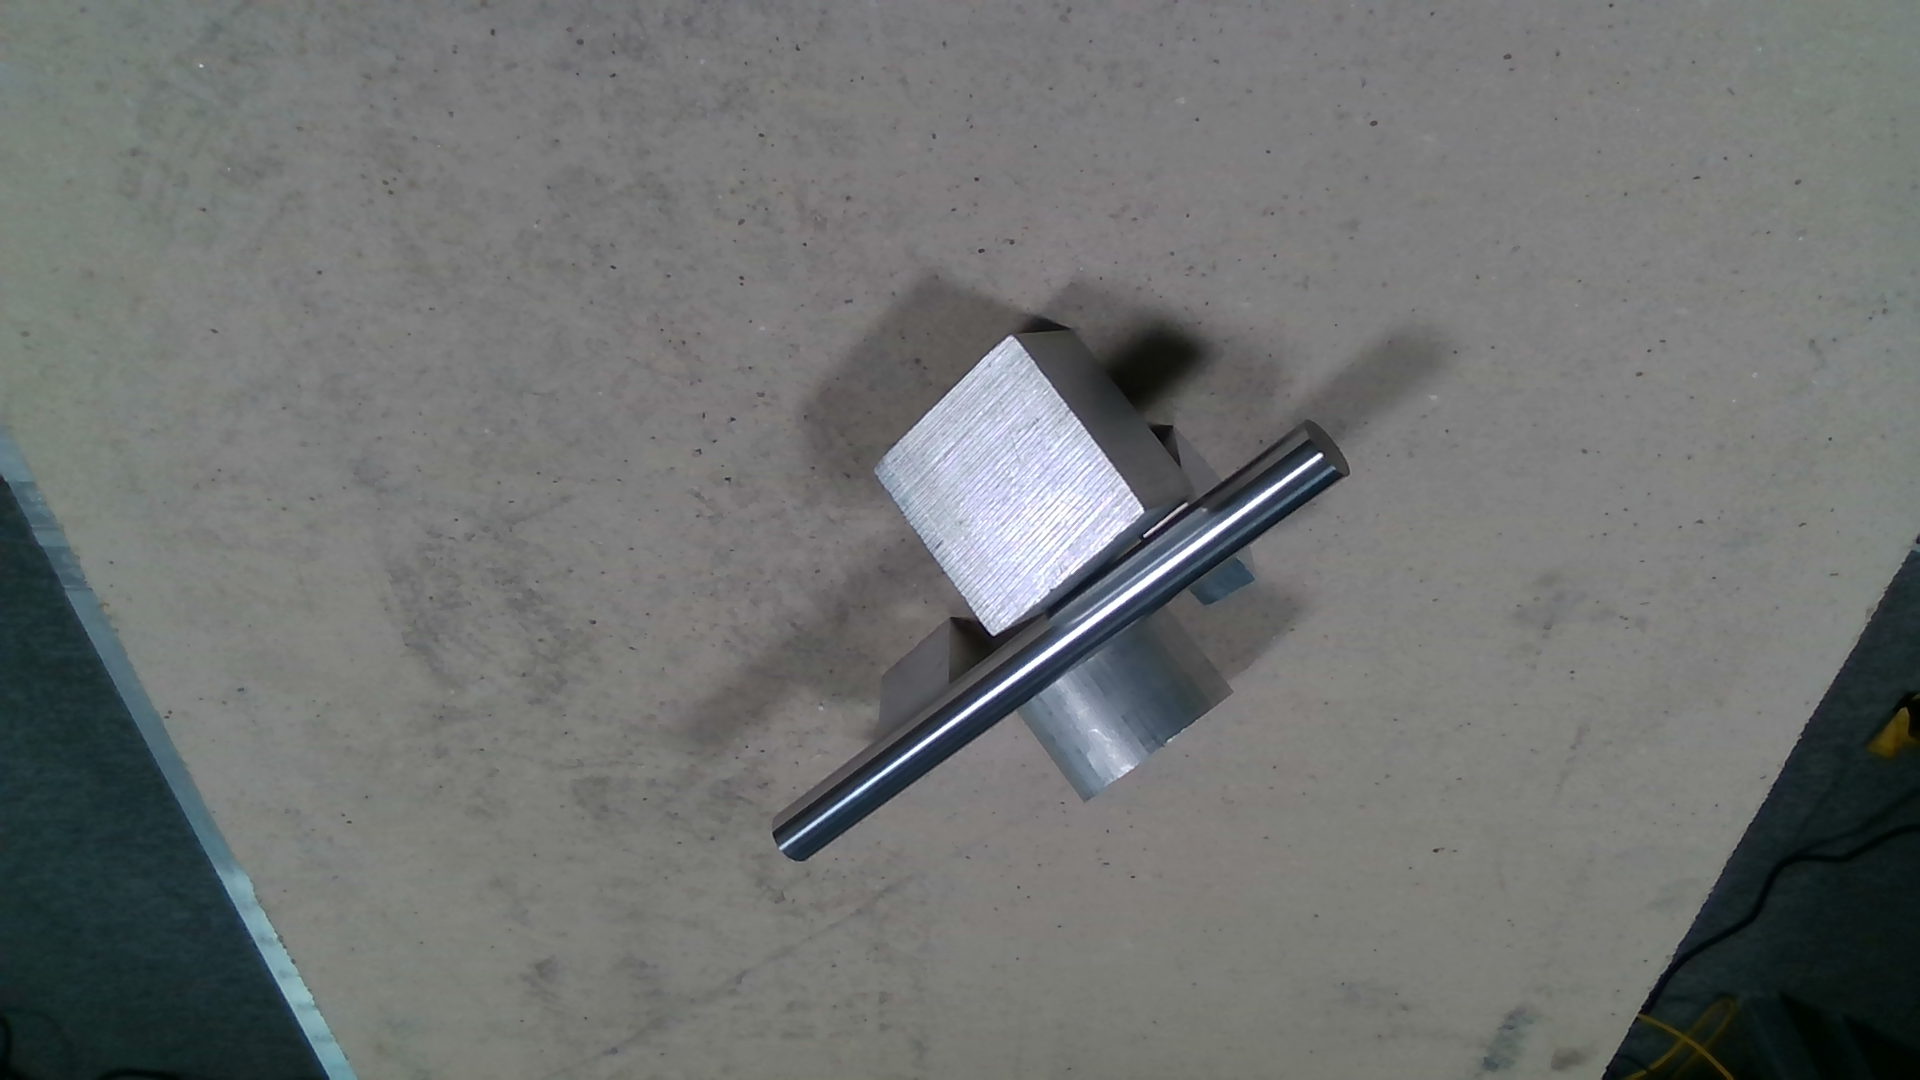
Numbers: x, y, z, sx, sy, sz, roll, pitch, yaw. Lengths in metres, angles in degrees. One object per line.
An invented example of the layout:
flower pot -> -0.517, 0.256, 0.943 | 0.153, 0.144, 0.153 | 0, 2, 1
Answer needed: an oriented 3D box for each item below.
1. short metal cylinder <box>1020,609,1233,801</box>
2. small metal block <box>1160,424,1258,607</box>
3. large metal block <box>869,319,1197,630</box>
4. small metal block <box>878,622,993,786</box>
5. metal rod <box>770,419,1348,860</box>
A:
short metal cylinder -> 0.070, 0.069, 0.594 | 0.080, 0.080, 0.050 | -44, 76, 30
small metal block -> 0.092, -0.010, 0.555 | 0.025, 0.050, 0.050 | -32, 123, 24
large metal block -> 0.027, -0.026, 0.518 | 0.080, 0.050, 0.080 | -42, 78, 30
small metal block -> -0.012, 0.074, 0.621 | 0.025, 0.050, 0.050 | 33, 122, -25
metal rod -> 0.026, 0.051, 0.557 | 0.025, 0.025, 0.301 | 36, 121, -26
